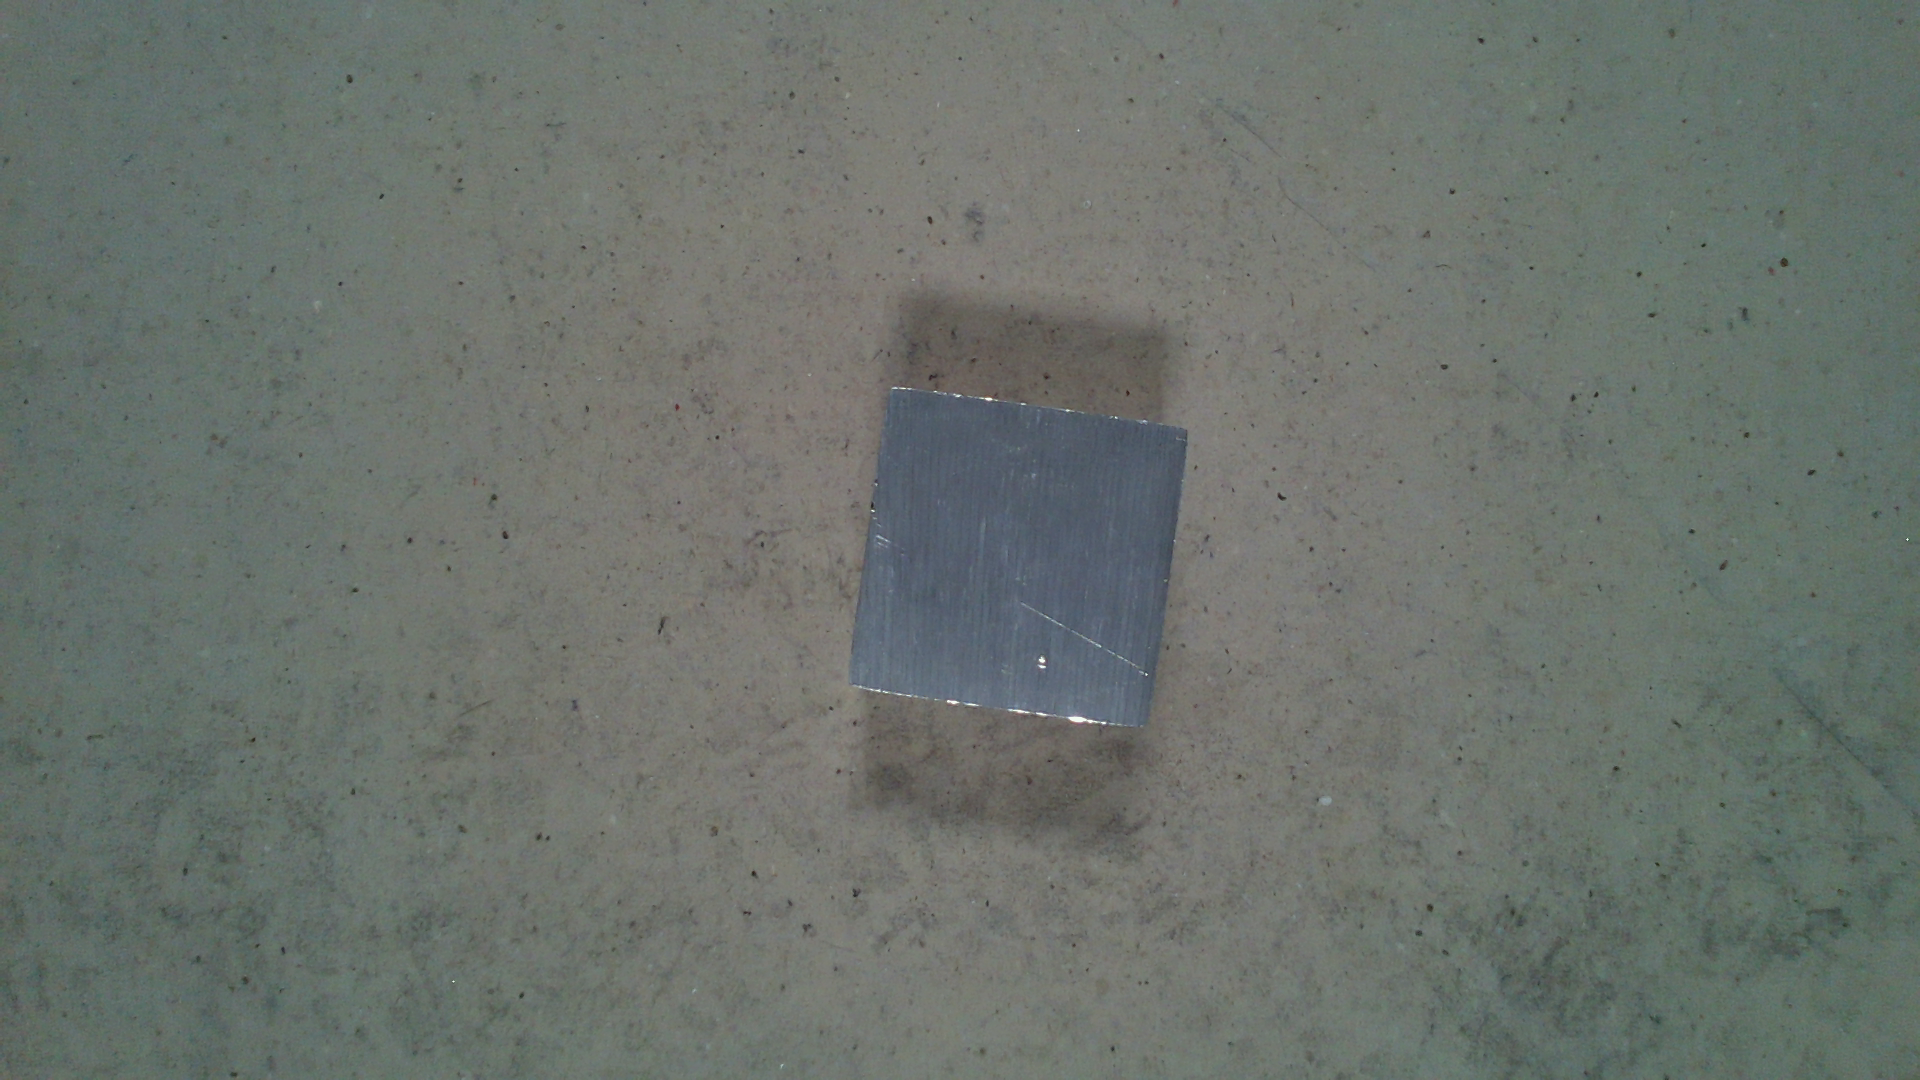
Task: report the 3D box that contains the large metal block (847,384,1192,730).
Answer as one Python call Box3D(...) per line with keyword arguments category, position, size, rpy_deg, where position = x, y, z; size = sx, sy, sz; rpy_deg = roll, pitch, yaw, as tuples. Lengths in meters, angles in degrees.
Box3D(category="large metal block", position=(0.016, 0.004, 0.383), size=(0.080, 0.050, 0.080), rpy_deg=(8, 90, 0))
